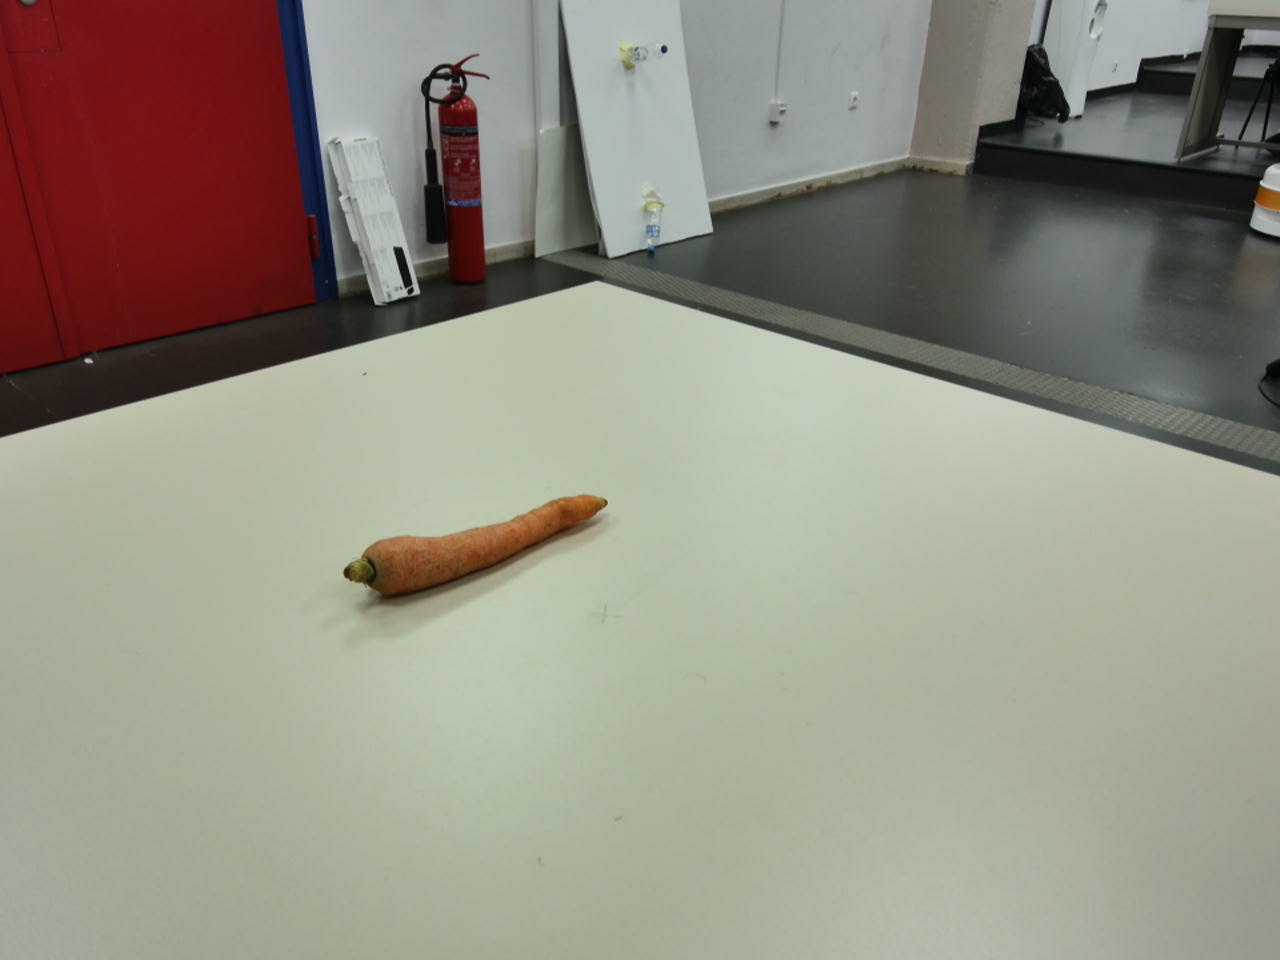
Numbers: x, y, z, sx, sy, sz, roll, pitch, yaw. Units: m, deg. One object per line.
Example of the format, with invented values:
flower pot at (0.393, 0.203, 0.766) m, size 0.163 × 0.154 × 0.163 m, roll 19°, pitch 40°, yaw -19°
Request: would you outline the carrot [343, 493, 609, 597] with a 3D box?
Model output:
carrot at (-0.085, 0.031, 0.562) m, size 0.173 × 0.032 × 0.030 m, roll -18°, pitch 31°, yaw -35°
